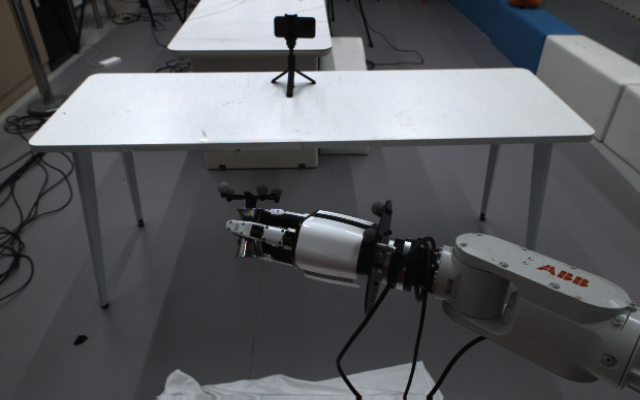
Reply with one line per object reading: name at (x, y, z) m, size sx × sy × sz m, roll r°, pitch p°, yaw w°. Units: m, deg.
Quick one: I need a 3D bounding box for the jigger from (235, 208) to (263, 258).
jigger at (-0.099, 0.047, 0.684) m, size 0.043 × 0.071 × 0.043 m, roll 1°, pitch -5°, yaw 0°
